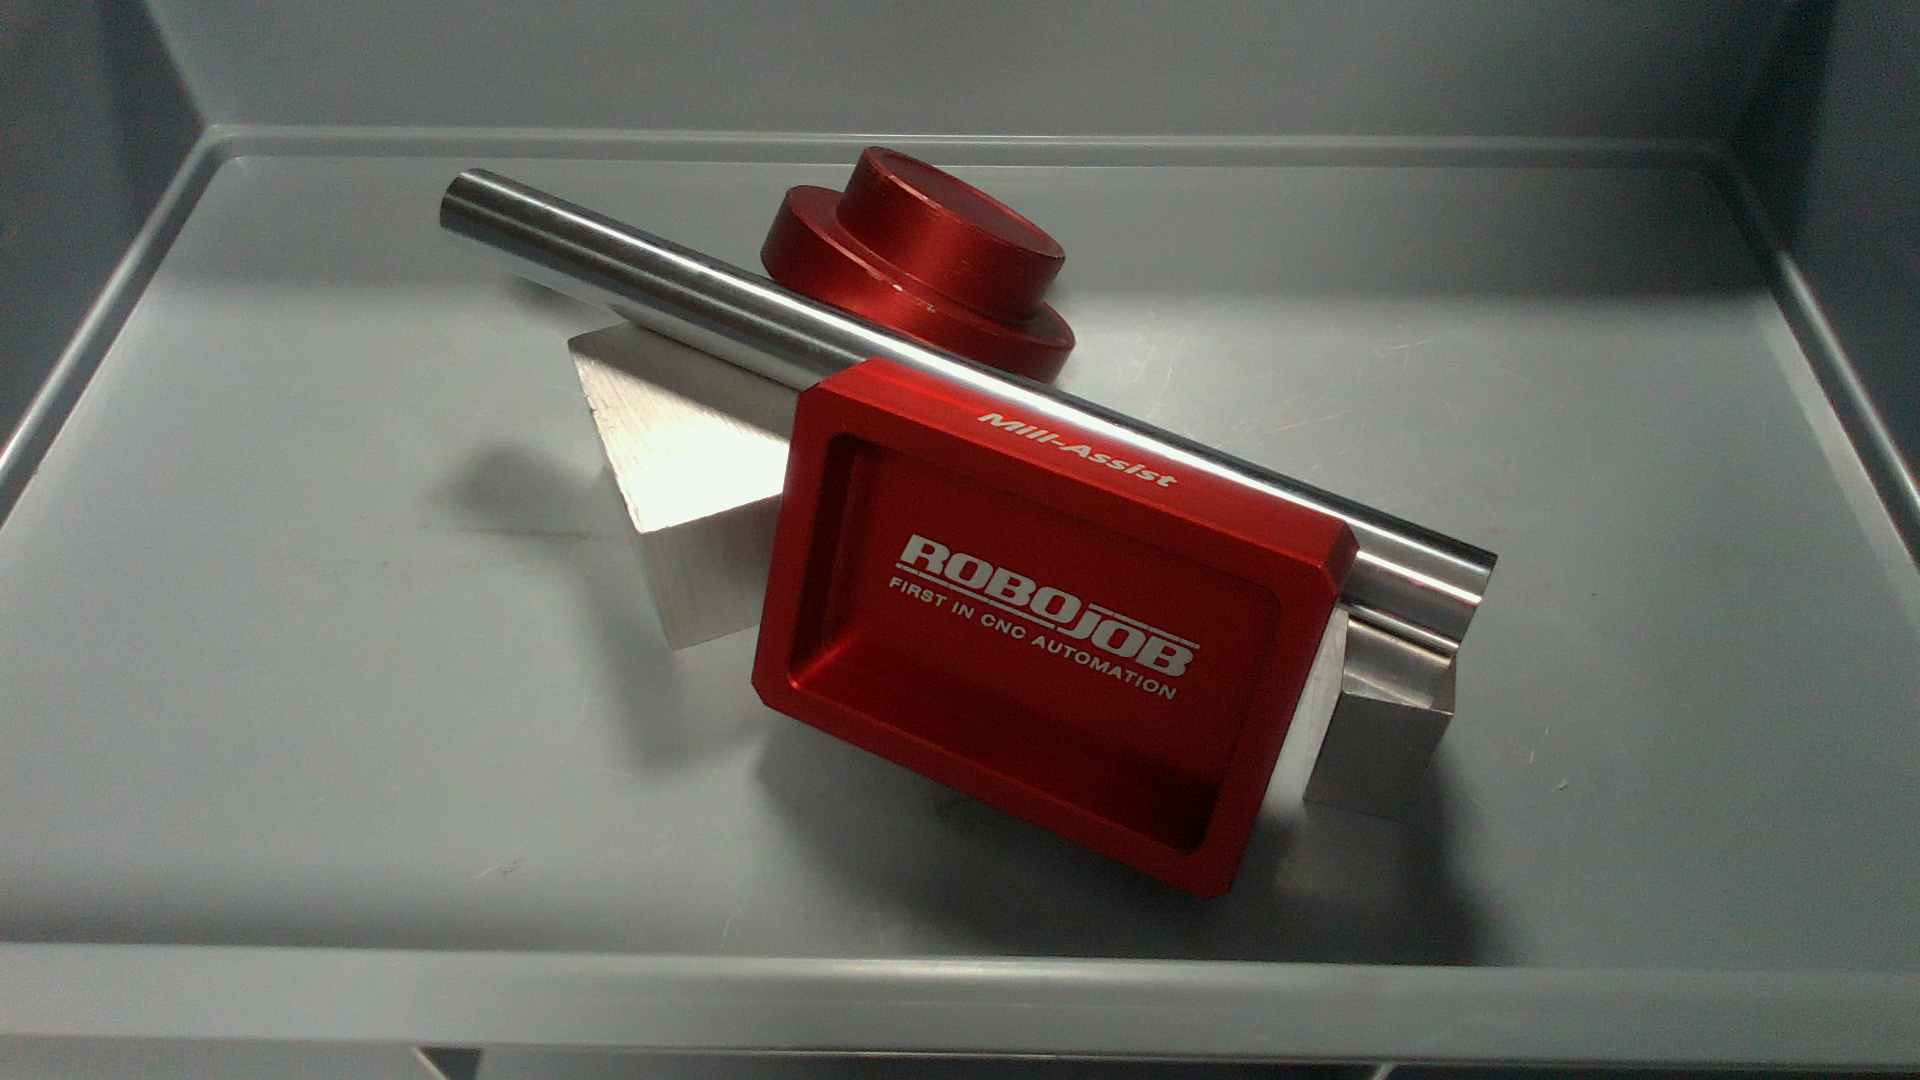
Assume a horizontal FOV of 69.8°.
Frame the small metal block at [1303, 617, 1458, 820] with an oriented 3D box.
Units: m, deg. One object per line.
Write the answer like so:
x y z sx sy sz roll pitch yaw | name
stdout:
0.106 0.034 0.345 0.025 0.050 0.050 11 51 10 | small metal block

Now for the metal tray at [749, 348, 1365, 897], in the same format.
0.018 0.018 0.328 0.130 0.090 0.030 21 26 17 | metal tray

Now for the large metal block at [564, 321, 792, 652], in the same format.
-0.060 -0.025 0.395 0.080 0.050 0.080 -18 52 -14 | large metal block

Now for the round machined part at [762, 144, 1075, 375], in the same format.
-0.007 -0.084 0.417 0.098 0.042 0.098 26 20 -10 | round machined part

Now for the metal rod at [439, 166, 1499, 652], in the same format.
-0.013 -0.042 0.359 0.299 0.025 0.025 23 54 18 | metal rod
